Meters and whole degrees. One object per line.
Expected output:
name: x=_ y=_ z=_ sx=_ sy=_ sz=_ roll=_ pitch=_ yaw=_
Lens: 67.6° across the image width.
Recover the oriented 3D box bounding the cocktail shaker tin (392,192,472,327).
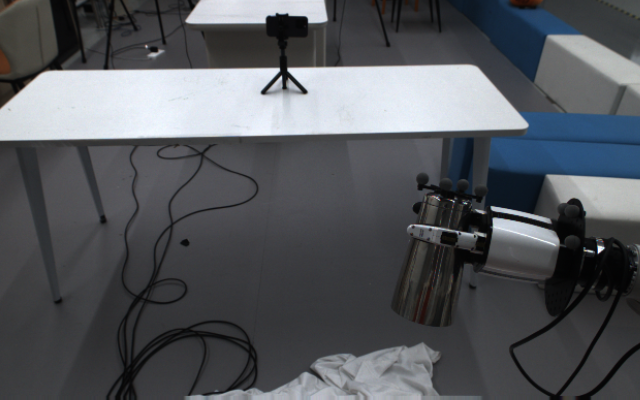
cocktail shaker tin: x=0.166 y=0.076 z=0.684 sx=0.093 sy=0.170 sz=0.093 roll=10 pitch=9 yaw=-2
